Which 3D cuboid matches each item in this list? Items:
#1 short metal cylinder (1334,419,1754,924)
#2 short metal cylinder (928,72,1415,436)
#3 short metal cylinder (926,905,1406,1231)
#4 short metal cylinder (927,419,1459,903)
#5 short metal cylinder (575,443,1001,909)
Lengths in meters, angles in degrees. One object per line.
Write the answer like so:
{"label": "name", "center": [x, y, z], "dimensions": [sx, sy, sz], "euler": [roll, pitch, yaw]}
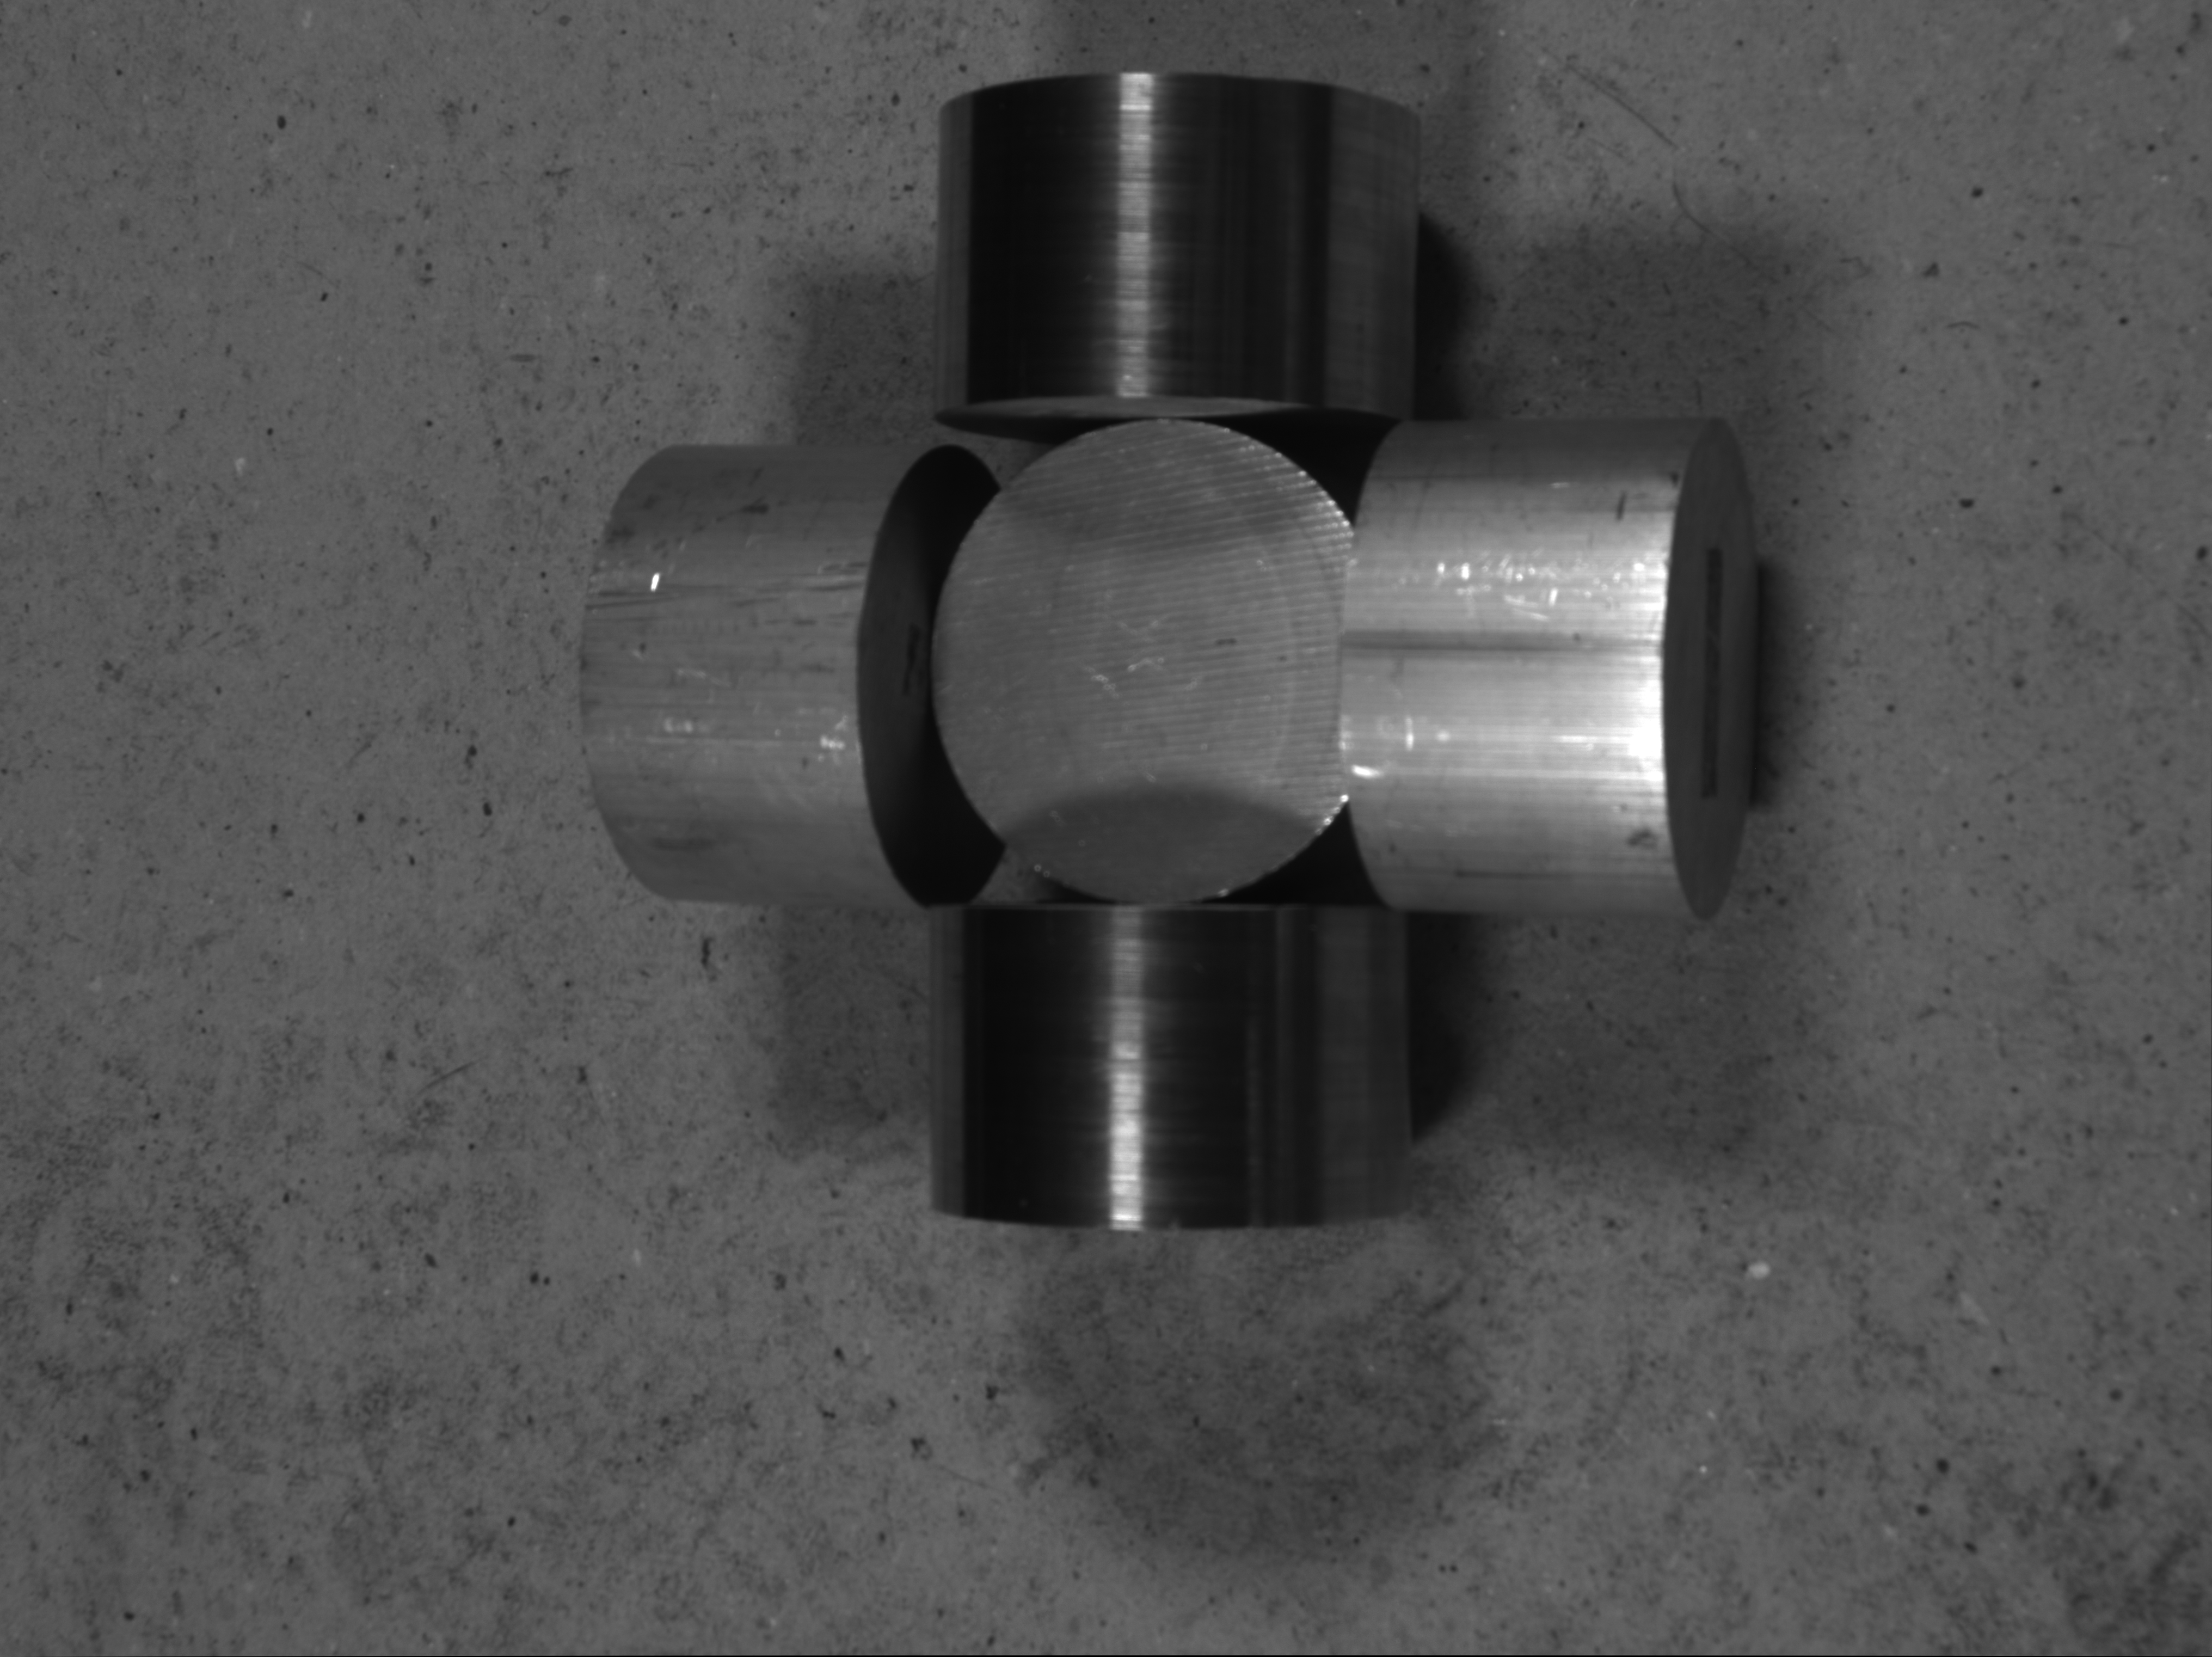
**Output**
{"label": "short metal cylinder", "center": [0.072, -0.026, 0.590], "dimensions": [0.050, 0.080, 0.080], "euler": [2, 91, 20]}
{"label": "short metal cylinder", "center": [0.011, -0.093, 0.611], "dimensions": [0.080, 0.080, 0.050], "euler": [2, 91, 20]}
{"label": "short metal cylinder", "center": [0.010, 0.038, 0.611], "dimensions": [0.080, 0.080, 0.050], "euler": [0, 89, 20]}
{"label": "short metal cylinder", "center": [0.016, -0.027, 0.626], "dimensions": [0.080, 0.050, 0.080], "euler": [0, 90, 20]}
{"label": "short metal cylinder", "center": [-0.050, -0.026, 0.634], "dimensions": [0.050, 0.080, 0.080], "euler": [2, 91, 20]}
